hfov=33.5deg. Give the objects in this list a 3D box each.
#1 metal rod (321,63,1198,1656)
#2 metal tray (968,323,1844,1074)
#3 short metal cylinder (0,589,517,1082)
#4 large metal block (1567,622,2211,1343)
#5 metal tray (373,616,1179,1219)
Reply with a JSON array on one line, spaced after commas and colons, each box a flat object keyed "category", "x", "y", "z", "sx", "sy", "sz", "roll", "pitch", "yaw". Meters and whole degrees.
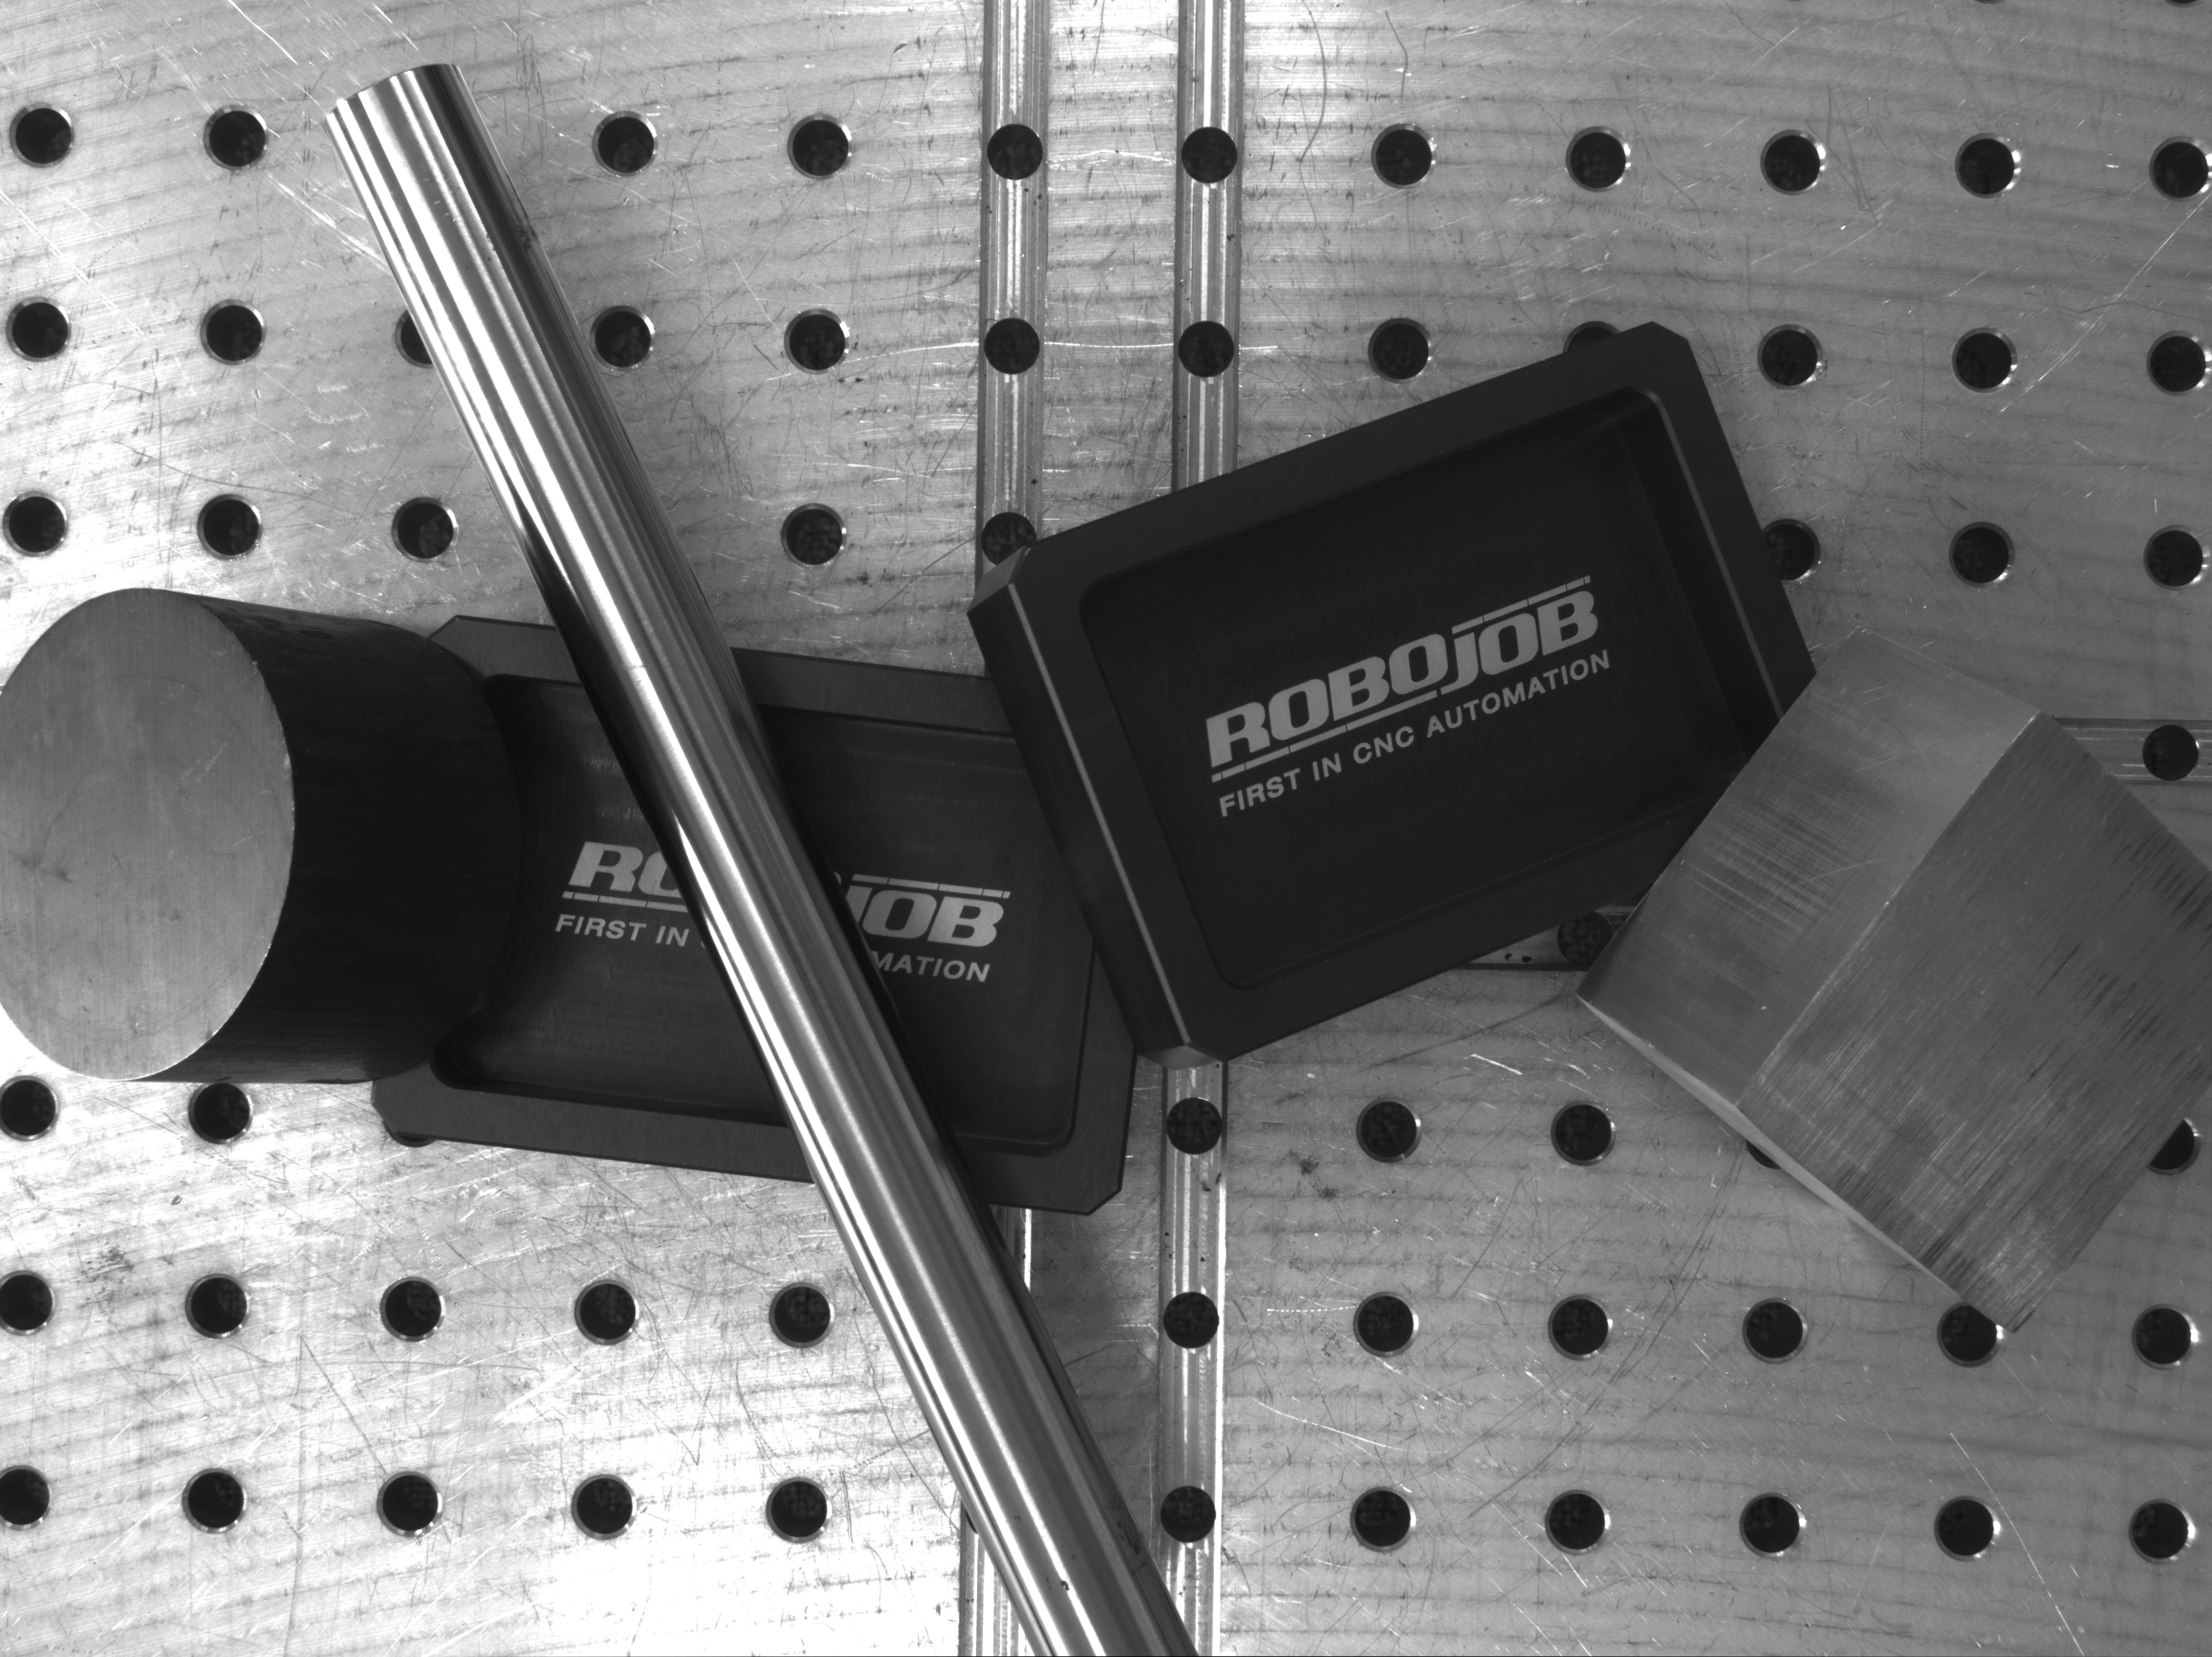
[{"category": "metal rod", "x": -0.057, "y": 0.013, "z": 0.618, "sx": 0.025, "sy": 0.025, "sz": 0.300, "roll": -25, "pitch": 90, "yaw": 0}, {"category": "metal tray", "x": 0.053, "y": -0.023, "z": 0.627, "sx": 0.130, "sy": 0.030, "sz": 0.090, "roll": -21, "pitch": 90, "yaw": -17}, {"category": "short metal cylinder", "x": -0.146, "y": 0.003, "z": 0.618, "sx": 0.080, "sy": 0.050, "sz": 0.080, "roll": -3, "pitch": 84, "yaw": 35}, {"category": "large metal block", "x": 0.139, "y": 0.026, "z": 0.618, "sx": 0.080, "sy": 0.050, "sz": 0.080, "roll": 38, "pitch": 90, "yaw": -31}, {"category": "metal tray", "x": -0.057, "y": 0.015, "z": 0.645, "sx": 0.130, "sy": 0.030, "sz": 0.090, "roll": 7, "pitch": 90, "yaw": 0}]
